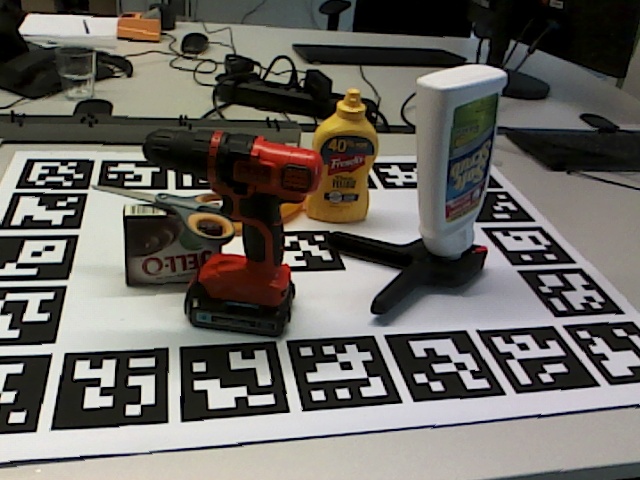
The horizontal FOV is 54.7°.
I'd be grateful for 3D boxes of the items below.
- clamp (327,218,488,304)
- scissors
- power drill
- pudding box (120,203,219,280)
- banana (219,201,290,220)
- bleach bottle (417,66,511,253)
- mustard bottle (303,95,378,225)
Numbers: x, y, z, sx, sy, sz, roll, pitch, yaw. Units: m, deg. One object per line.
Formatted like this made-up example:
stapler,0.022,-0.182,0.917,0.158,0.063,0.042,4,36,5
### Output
clamp,0.129,0.017,0.807,0.202,0.036,0.166,-4,35,-19
scissors,-0.183,-0.056,0.717,0.203,0.016,0.088,16,36,6
power drill,-0.098,-0.019,0.650,0.184,0.186,0.057,4,25,0
pudding box,-0.180,0.002,0.747,0.113,0.090,0.039,2,25,-10
banana,-0.082,-0.065,0.911,0.075,0.039,0.196,10,28,38
bleach bottle,0.171,-0.080,0.773,0.102,0.250,0.068,-18,35,-24
mustard bottle,0.033,-0.114,0.889,0.096,0.191,0.058,8,31,-2
